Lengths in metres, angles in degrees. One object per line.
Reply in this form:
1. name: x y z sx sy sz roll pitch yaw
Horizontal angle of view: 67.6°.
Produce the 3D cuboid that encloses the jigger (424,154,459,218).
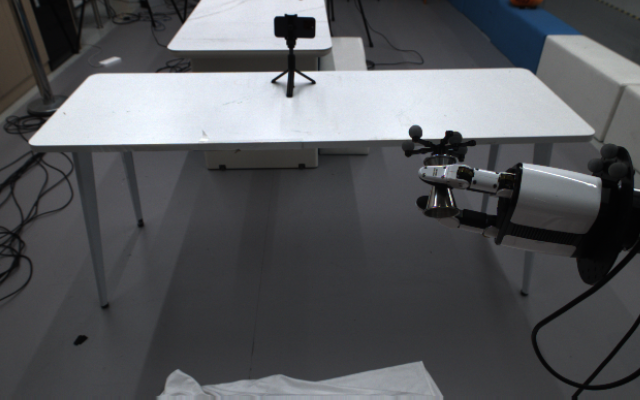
1. jigger: 0.146 -0.018 0.590 0.043 0.043 0.071 3 72 1
